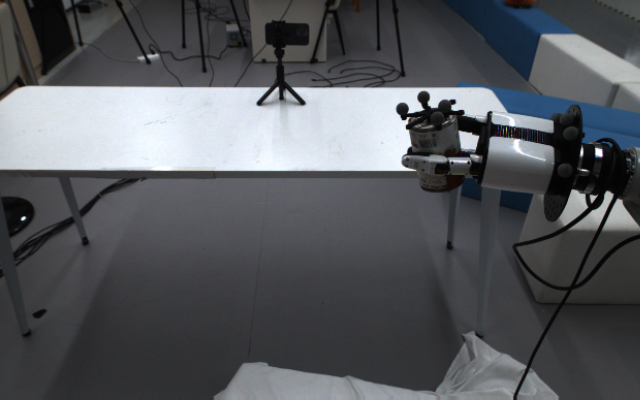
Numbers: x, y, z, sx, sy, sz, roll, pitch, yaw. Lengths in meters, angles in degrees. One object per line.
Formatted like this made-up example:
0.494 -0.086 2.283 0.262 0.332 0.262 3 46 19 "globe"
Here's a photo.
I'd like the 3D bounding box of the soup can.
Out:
0.167 -0.071 0.687 0.067 0.101 0.067 -13 31 8 "soup can"
